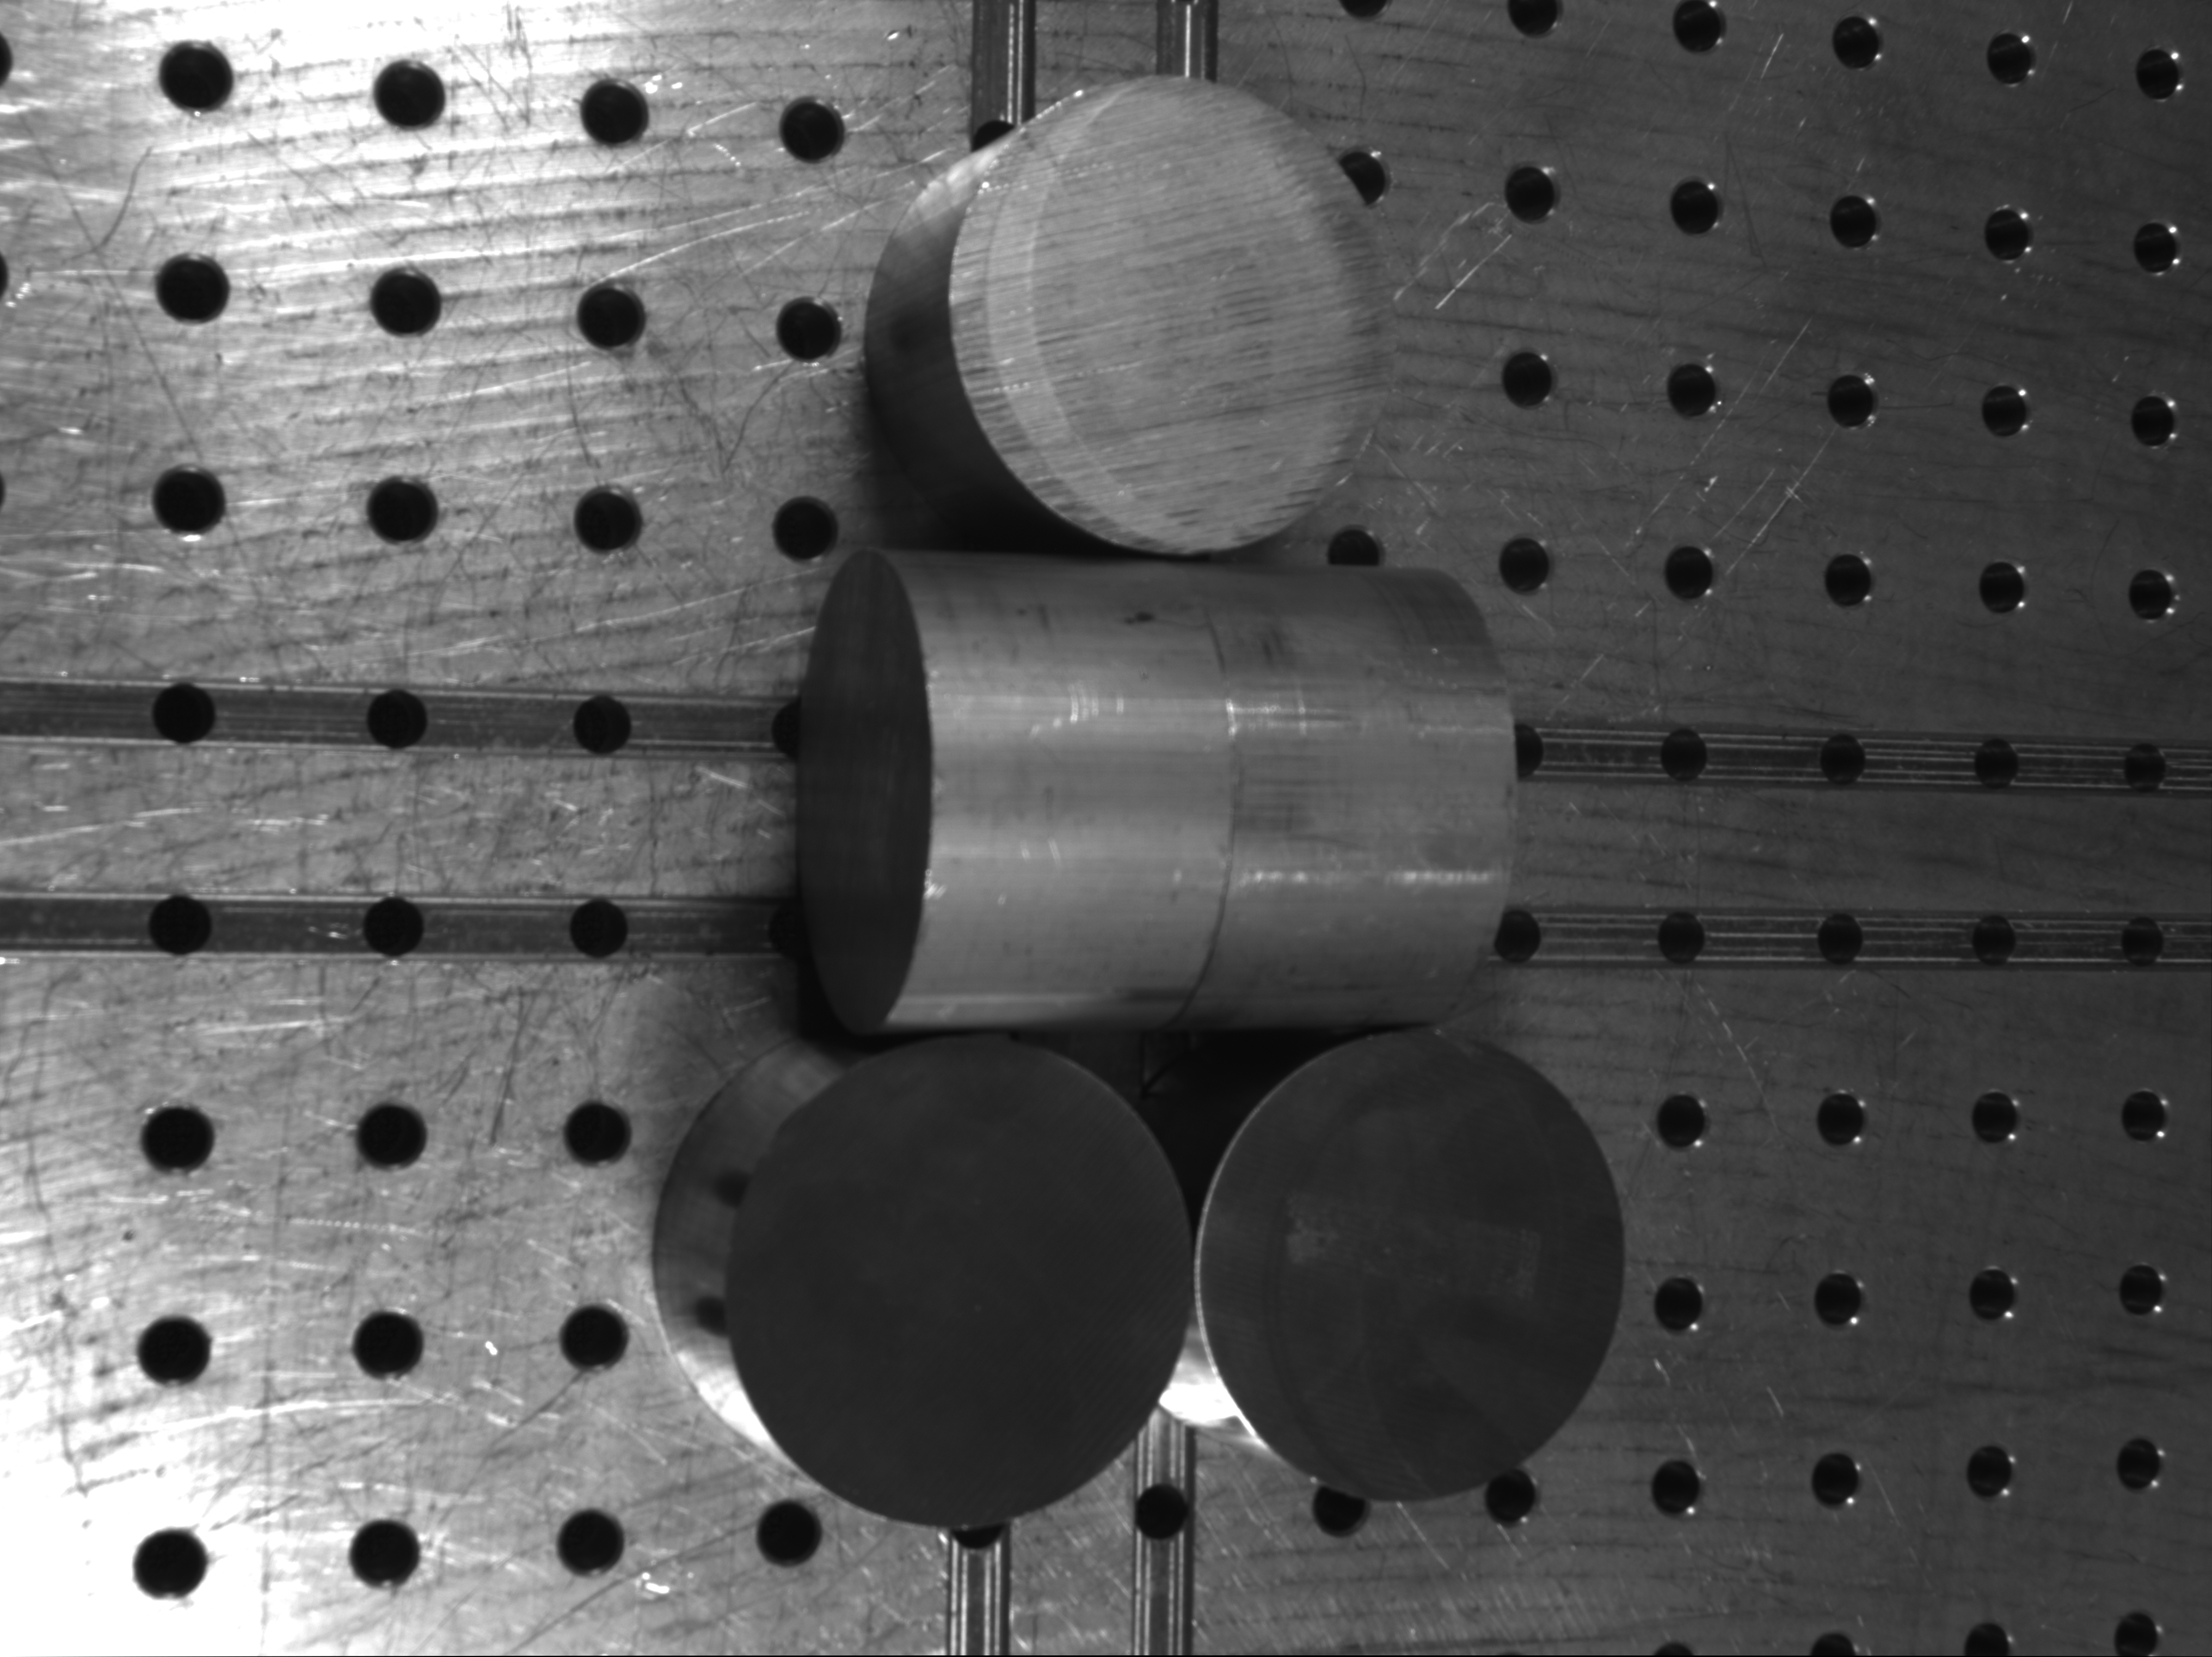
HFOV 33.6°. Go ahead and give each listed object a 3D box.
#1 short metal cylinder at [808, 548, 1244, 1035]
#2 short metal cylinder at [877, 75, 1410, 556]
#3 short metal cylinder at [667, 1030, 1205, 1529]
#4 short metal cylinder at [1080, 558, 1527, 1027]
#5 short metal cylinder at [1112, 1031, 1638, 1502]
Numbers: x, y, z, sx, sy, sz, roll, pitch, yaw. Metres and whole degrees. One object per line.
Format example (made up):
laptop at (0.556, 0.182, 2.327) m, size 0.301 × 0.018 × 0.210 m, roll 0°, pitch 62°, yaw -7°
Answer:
short metal cylinder at (-0.015, -0.006, 0.612) m, size 0.050 × 0.080 × 0.080 m, roll 1°, pitch 90°, yaw -20°
short metal cylinder at (0.006, -0.086, 0.635) m, size 0.080 × 0.050 × 0.080 m, roll 0°, pitch 90°, yaw -20°
short metal cylinder at (-0.030, 0.074, 0.621) m, size 0.080 × 0.050 × 0.080 m, roll 0°, pitch 90°, yaw -20°
short metal cylinder at (0.032, -0.006, 0.629) m, size 0.050 × 0.080 × 0.080 m, roll 1°, pitch 90°, yaw -20°
short metal cylinder at (0.047, 0.075, 0.648) m, size 0.080 × 0.050 × 0.080 m, roll 0°, pitch 90°, yaw -20°
